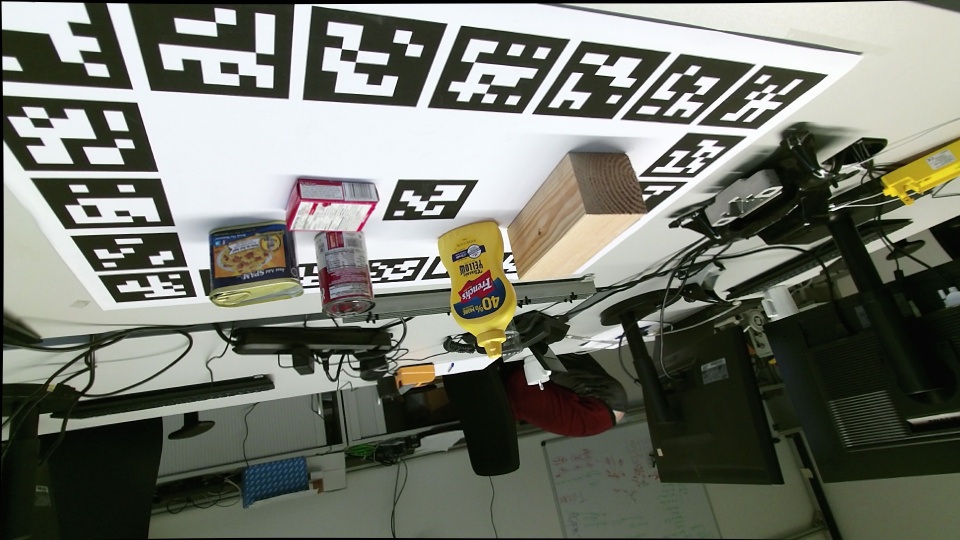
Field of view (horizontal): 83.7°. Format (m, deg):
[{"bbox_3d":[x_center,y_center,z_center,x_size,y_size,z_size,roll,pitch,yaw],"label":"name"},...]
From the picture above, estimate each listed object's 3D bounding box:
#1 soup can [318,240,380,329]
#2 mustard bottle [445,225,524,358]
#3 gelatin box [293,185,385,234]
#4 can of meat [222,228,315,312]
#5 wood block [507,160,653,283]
[{"bbox_3d":[-0.175,0.019,0.714,0.068,0.101,0.068,-13,158,-5],"label":"soup can"},{"bbox_3d":[0.012,0.033,0.776,0.096,0.190,0.058,-13,159,0],"label":"mustard bottle"},{"bbox_3d":[-0.162,-0.065,0.622,0.090,0.030,0.073,-1,154,-35],"label":"gelatin box"},{"bbox_3d":[-0.261,-0.001,0.662,0.102,0.083,0.058,-7,157,-10],"label":"can of meat"},{"bbox_3d":[0.128,-0.058,0.745,0.091,0.089,0.206,-2,160,-24],"label":"wood block"}]
